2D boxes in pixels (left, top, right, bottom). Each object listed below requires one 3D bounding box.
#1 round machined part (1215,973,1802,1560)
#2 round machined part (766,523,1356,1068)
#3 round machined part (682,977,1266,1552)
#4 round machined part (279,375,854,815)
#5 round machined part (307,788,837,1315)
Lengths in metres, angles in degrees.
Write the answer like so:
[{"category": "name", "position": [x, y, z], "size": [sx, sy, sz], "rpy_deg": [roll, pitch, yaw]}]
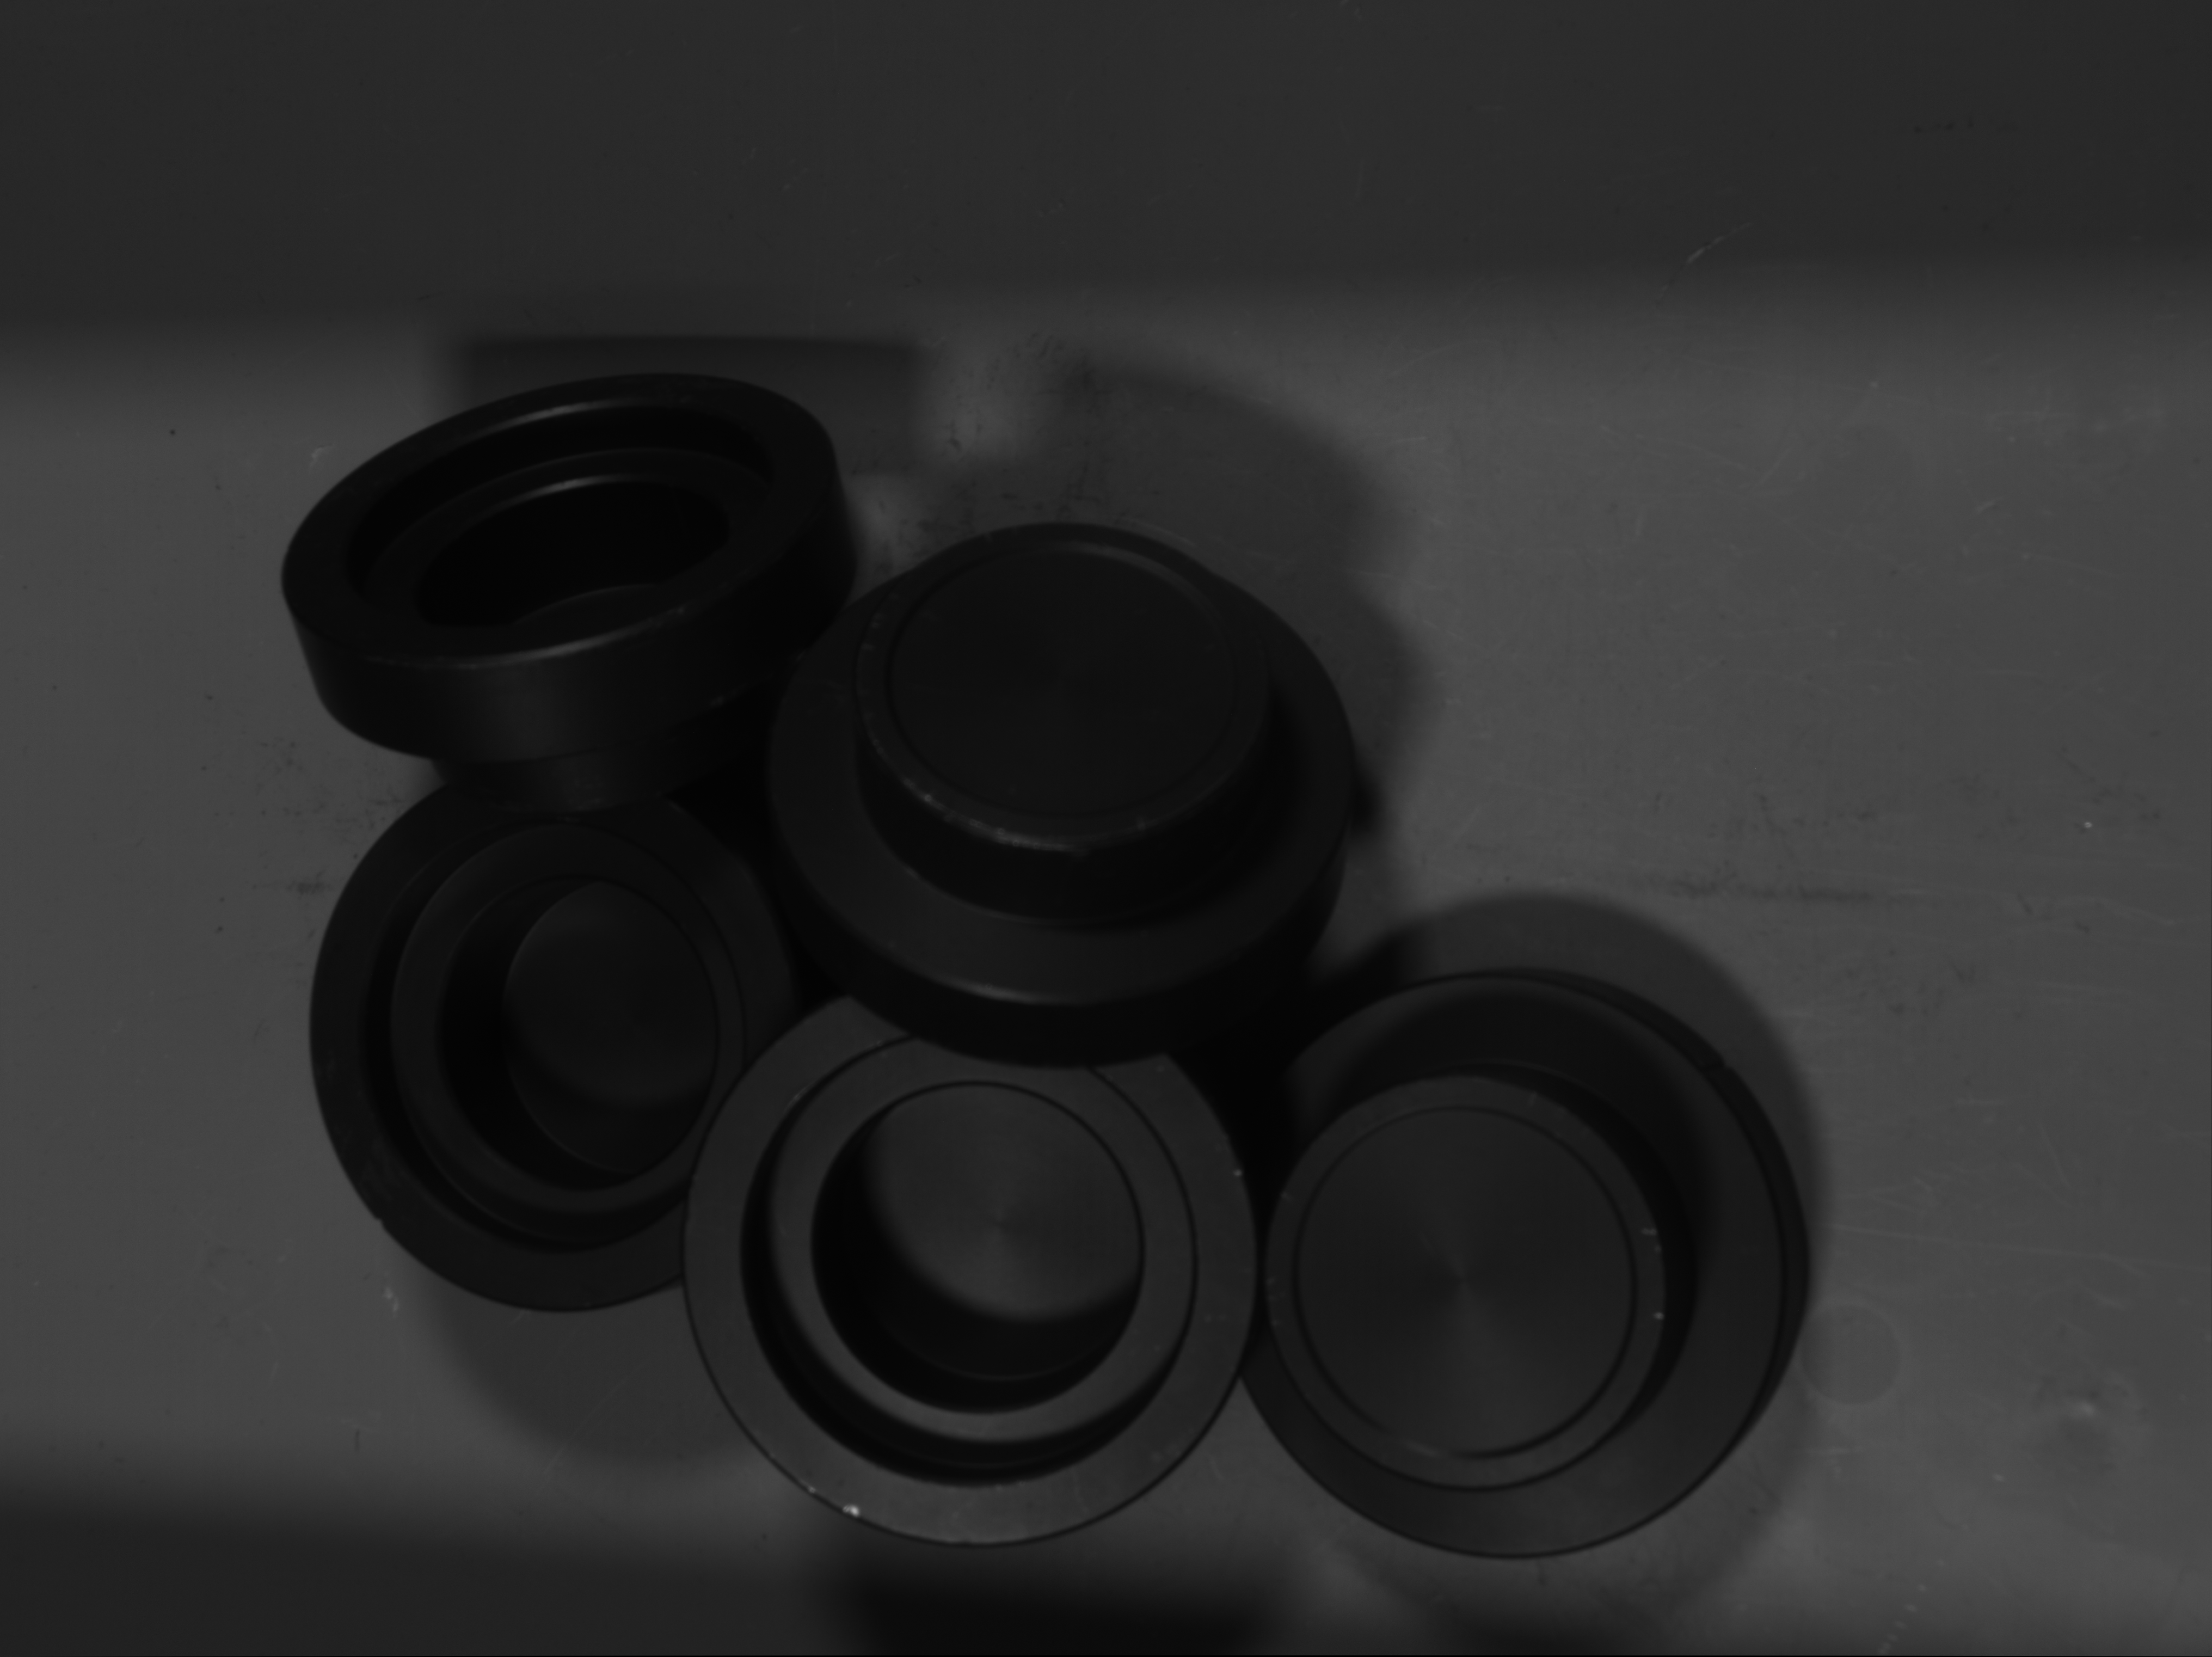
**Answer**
[{"category": "round machined part", "position": [0.064, 0.073, 0.611], "size": [0.098, 0.042, 0.098], "rpy_deg": [0, 90, 20]}, {"category": "round machined part", "position": [-0.007, -0.012, 0.608], "size": [0.098, 0.042, 0.098], "rpy_deg": [1, 52, -1]}, {"category": "round machined part", "position": [-0.020, 0.070, 0.629], "size": [0.098, 0.042, 0.098], "rpy_deg": [1, 96, 7]}, {"category": "round machined part", "position": [-0.092, -0.039, 0.648], "size": [0.098, 0.098, 0.042], "rpy_deg": [3, 126, 20]}, {"category": "round machined part", "position": [-0.092, 0.037, 0.666], "size": [0.098, 0.042, 0.098], "rpy_deg": [0, 90, 20]}]
